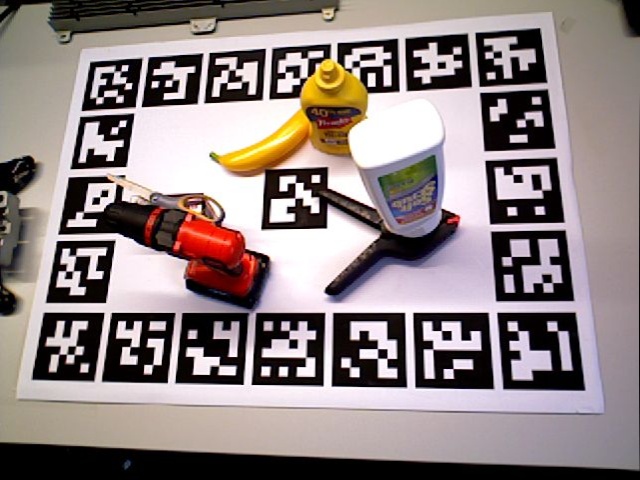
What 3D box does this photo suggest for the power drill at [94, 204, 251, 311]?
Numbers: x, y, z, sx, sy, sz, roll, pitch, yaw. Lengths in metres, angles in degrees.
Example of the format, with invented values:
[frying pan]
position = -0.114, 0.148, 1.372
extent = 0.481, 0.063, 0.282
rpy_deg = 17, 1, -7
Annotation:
[power drill]
position = -0.173, 0.022, 0.687
extent = 0.185, 0.189, 0.056
rpy_deg = 12, 65, 15

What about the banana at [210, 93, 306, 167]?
[banana]
position = -0.077, -0.168, 0.837
extent = 0.196, 0.039, 0.074
rpy_deg = -38, 53, -4

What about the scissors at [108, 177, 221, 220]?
[scissors]
position = -0.234, -0.059, 0.738
extent = 0.202, 0.016, 0.087
rpy_deg = 25, 82, 11

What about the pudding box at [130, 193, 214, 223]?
[pudding box]
position = -0.218, -0.030, 0.794
extent = 0.114, 0.091, 0.038
rpy_deg = 4, 64, 9

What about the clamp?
[clamp]
position = 0.094, -0.012, 0.750
extent = 0.202, 0.037, 0.164
rpy_deg = -7, 73, 6

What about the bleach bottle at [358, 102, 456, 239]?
[bleach bottle]
position = 0.116, -0.063, 0.651
extent = 0.103, 0.252, 0.067
rpy_deg = -20, 65, 8

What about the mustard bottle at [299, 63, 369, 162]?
[mustard bottle]
position = 0.021, -0.178, 0.755
extent = 0.096, 0.193, 0.058
rpy_deg = 14, 72, 11
